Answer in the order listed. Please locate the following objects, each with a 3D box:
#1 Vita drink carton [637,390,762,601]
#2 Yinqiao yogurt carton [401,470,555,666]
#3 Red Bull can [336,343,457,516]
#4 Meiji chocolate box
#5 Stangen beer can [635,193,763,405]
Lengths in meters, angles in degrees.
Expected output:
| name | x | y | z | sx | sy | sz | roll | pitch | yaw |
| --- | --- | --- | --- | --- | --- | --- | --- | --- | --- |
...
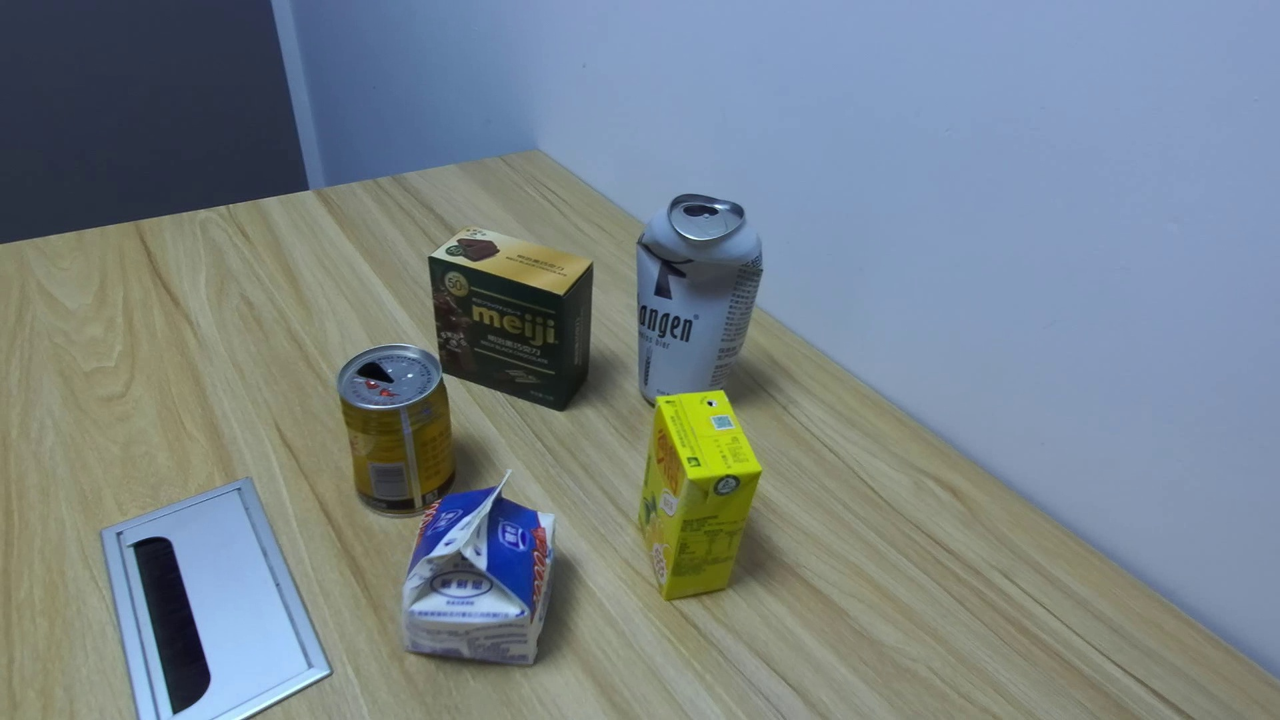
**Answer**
| name | x | y | z | sx | sy | sz | roll | pitch | yaw |
| --- | --- | --- | --- | --- | --- | --- | --- | --- | --- |
| Vita drink carton | 0.033 | 0.079 | 0.412 | 0.044 | 0.109 | 0.066 | -5 | 40 | -13 |
| Yinqiao yogurt carton | -0.085 | 0.105 | 0.376 | 0.077 | 0.093 | 0.083 | 6 | 37 | 0 |
| Red Bull can | -0.152 | 0.045 | 0.445 | 0.069 | 0.092 | 0.069 | 4 | 37 | -3 |
| Meiji chocolate box | -0.095 | -0.031 | 0.534 | 0.110 | 0.109 | 0.056 | 17 | 39 | 14 |
| Stangen beer can | 0.037 | -0.036 | 0.514 | 0.077 | 0.162 | 0.065 | -7 | 40 | -17 |
